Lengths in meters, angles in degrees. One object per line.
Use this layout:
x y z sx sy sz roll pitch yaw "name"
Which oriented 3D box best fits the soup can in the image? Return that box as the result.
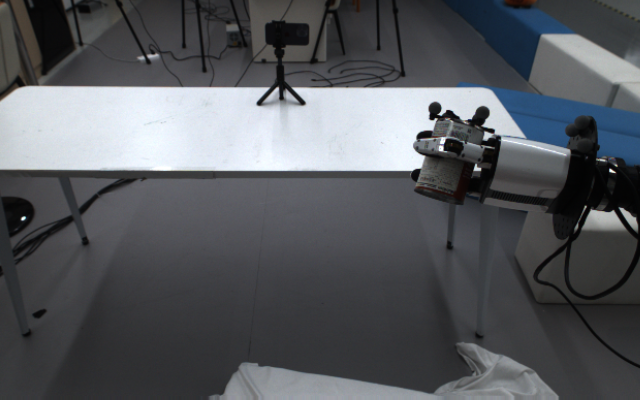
0.174 -0.053 0.652 0.067 0.101 0.067 18 -2 1 "soup can"
